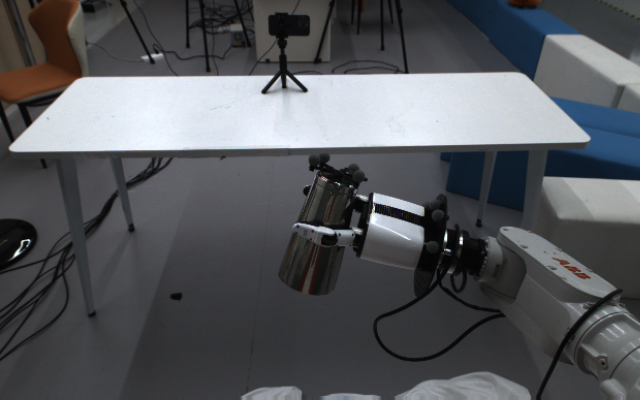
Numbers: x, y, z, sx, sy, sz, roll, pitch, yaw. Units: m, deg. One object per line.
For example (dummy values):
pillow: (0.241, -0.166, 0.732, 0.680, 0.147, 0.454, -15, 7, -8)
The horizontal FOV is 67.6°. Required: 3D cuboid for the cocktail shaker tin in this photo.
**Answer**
cocktail shaker tin: (0.002, 0.045, 0.729, 0.093, 0.170, 0.093, 15, 17, -5)
